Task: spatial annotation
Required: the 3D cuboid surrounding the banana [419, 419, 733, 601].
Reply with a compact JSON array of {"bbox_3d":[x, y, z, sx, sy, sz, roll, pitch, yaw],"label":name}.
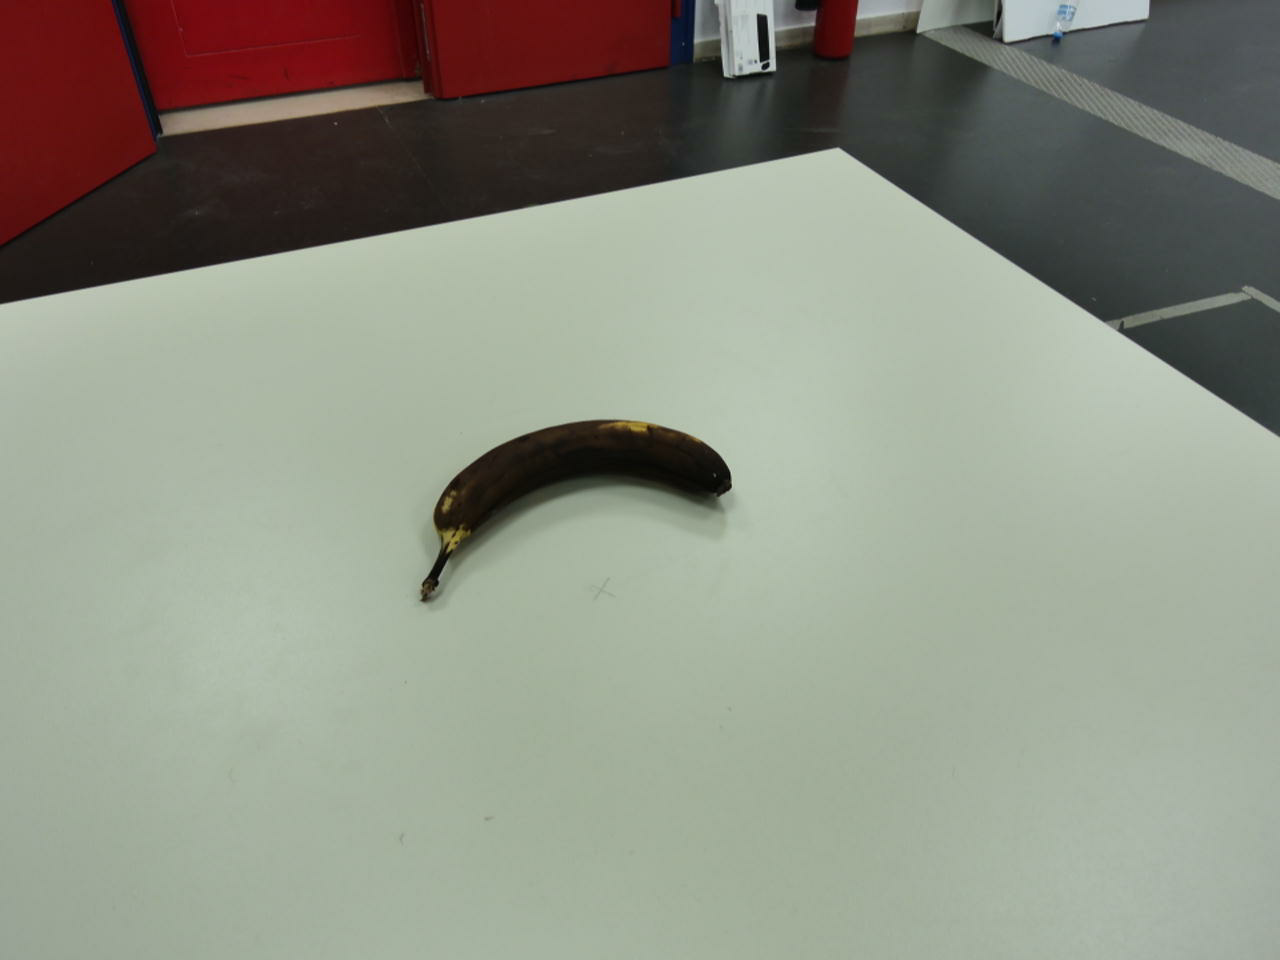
[{"bbox_3d":[-0.045,0.001,0.575,0.188,0.034,0.091,-15,41,-19],"label":"banana"}]
